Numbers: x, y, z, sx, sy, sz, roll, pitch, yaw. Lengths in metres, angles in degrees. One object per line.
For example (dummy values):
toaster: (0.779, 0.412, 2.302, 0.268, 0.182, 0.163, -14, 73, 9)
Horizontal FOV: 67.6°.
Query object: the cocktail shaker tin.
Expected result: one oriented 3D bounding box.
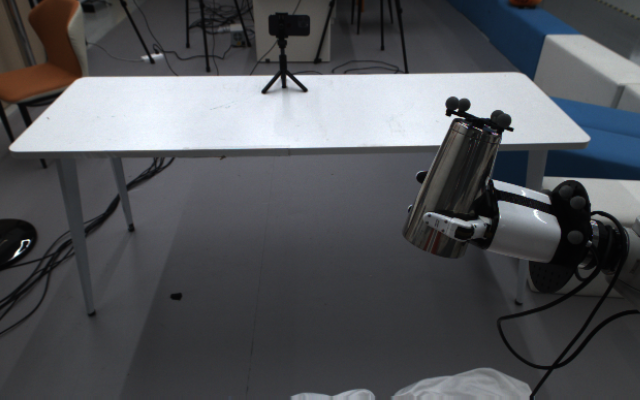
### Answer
cocktail shaker tin: (0.182, -0.019, 0.655, 0.093, 0.170, 0.093, 14, 20, -5)
